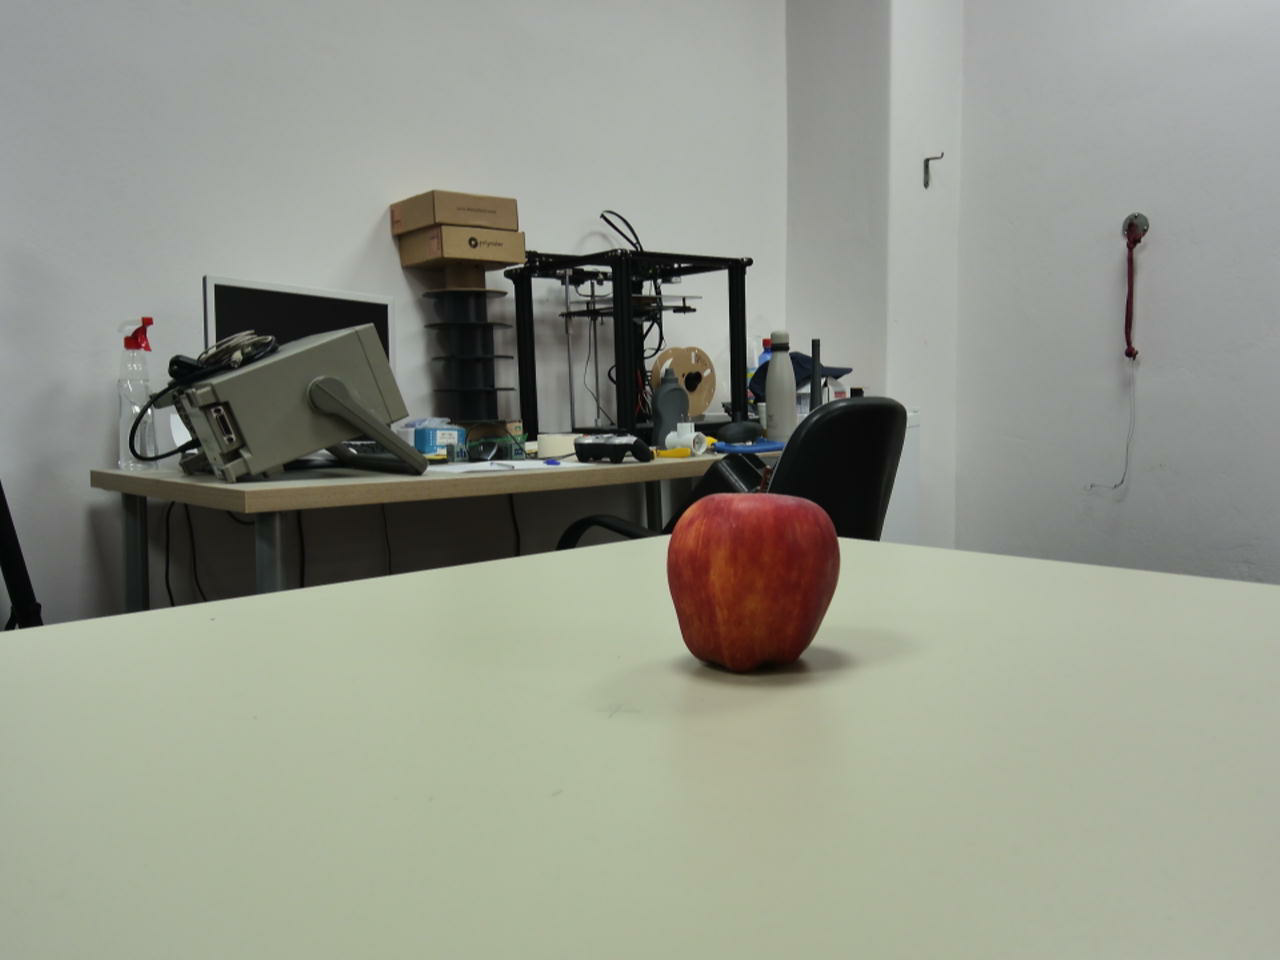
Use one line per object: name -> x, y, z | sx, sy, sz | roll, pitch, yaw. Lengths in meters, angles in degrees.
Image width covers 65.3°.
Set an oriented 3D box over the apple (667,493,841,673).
apple -> 0.054, 0.040, 0.468 | 0.083, 0.090, 0.083 | 0, 3, 0
